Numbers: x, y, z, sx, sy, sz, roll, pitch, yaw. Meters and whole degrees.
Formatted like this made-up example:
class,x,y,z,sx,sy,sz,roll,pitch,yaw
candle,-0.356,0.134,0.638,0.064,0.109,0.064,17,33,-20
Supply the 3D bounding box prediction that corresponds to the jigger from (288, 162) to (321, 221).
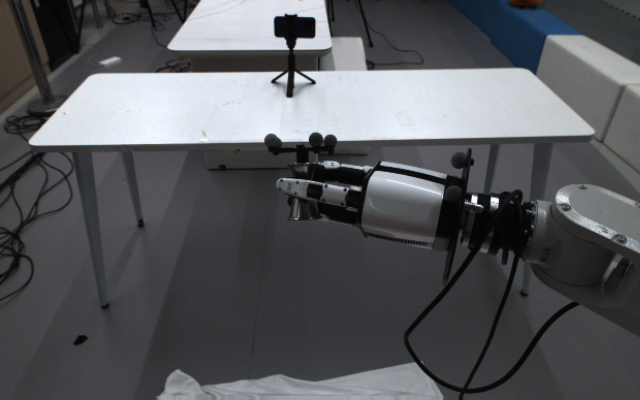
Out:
class,x,y,z,sx,sy,sz,roll,pitch,yaw
jigger,-0.020,-0.011,0.593,0.043,0.071,0.043,-2,3,0
